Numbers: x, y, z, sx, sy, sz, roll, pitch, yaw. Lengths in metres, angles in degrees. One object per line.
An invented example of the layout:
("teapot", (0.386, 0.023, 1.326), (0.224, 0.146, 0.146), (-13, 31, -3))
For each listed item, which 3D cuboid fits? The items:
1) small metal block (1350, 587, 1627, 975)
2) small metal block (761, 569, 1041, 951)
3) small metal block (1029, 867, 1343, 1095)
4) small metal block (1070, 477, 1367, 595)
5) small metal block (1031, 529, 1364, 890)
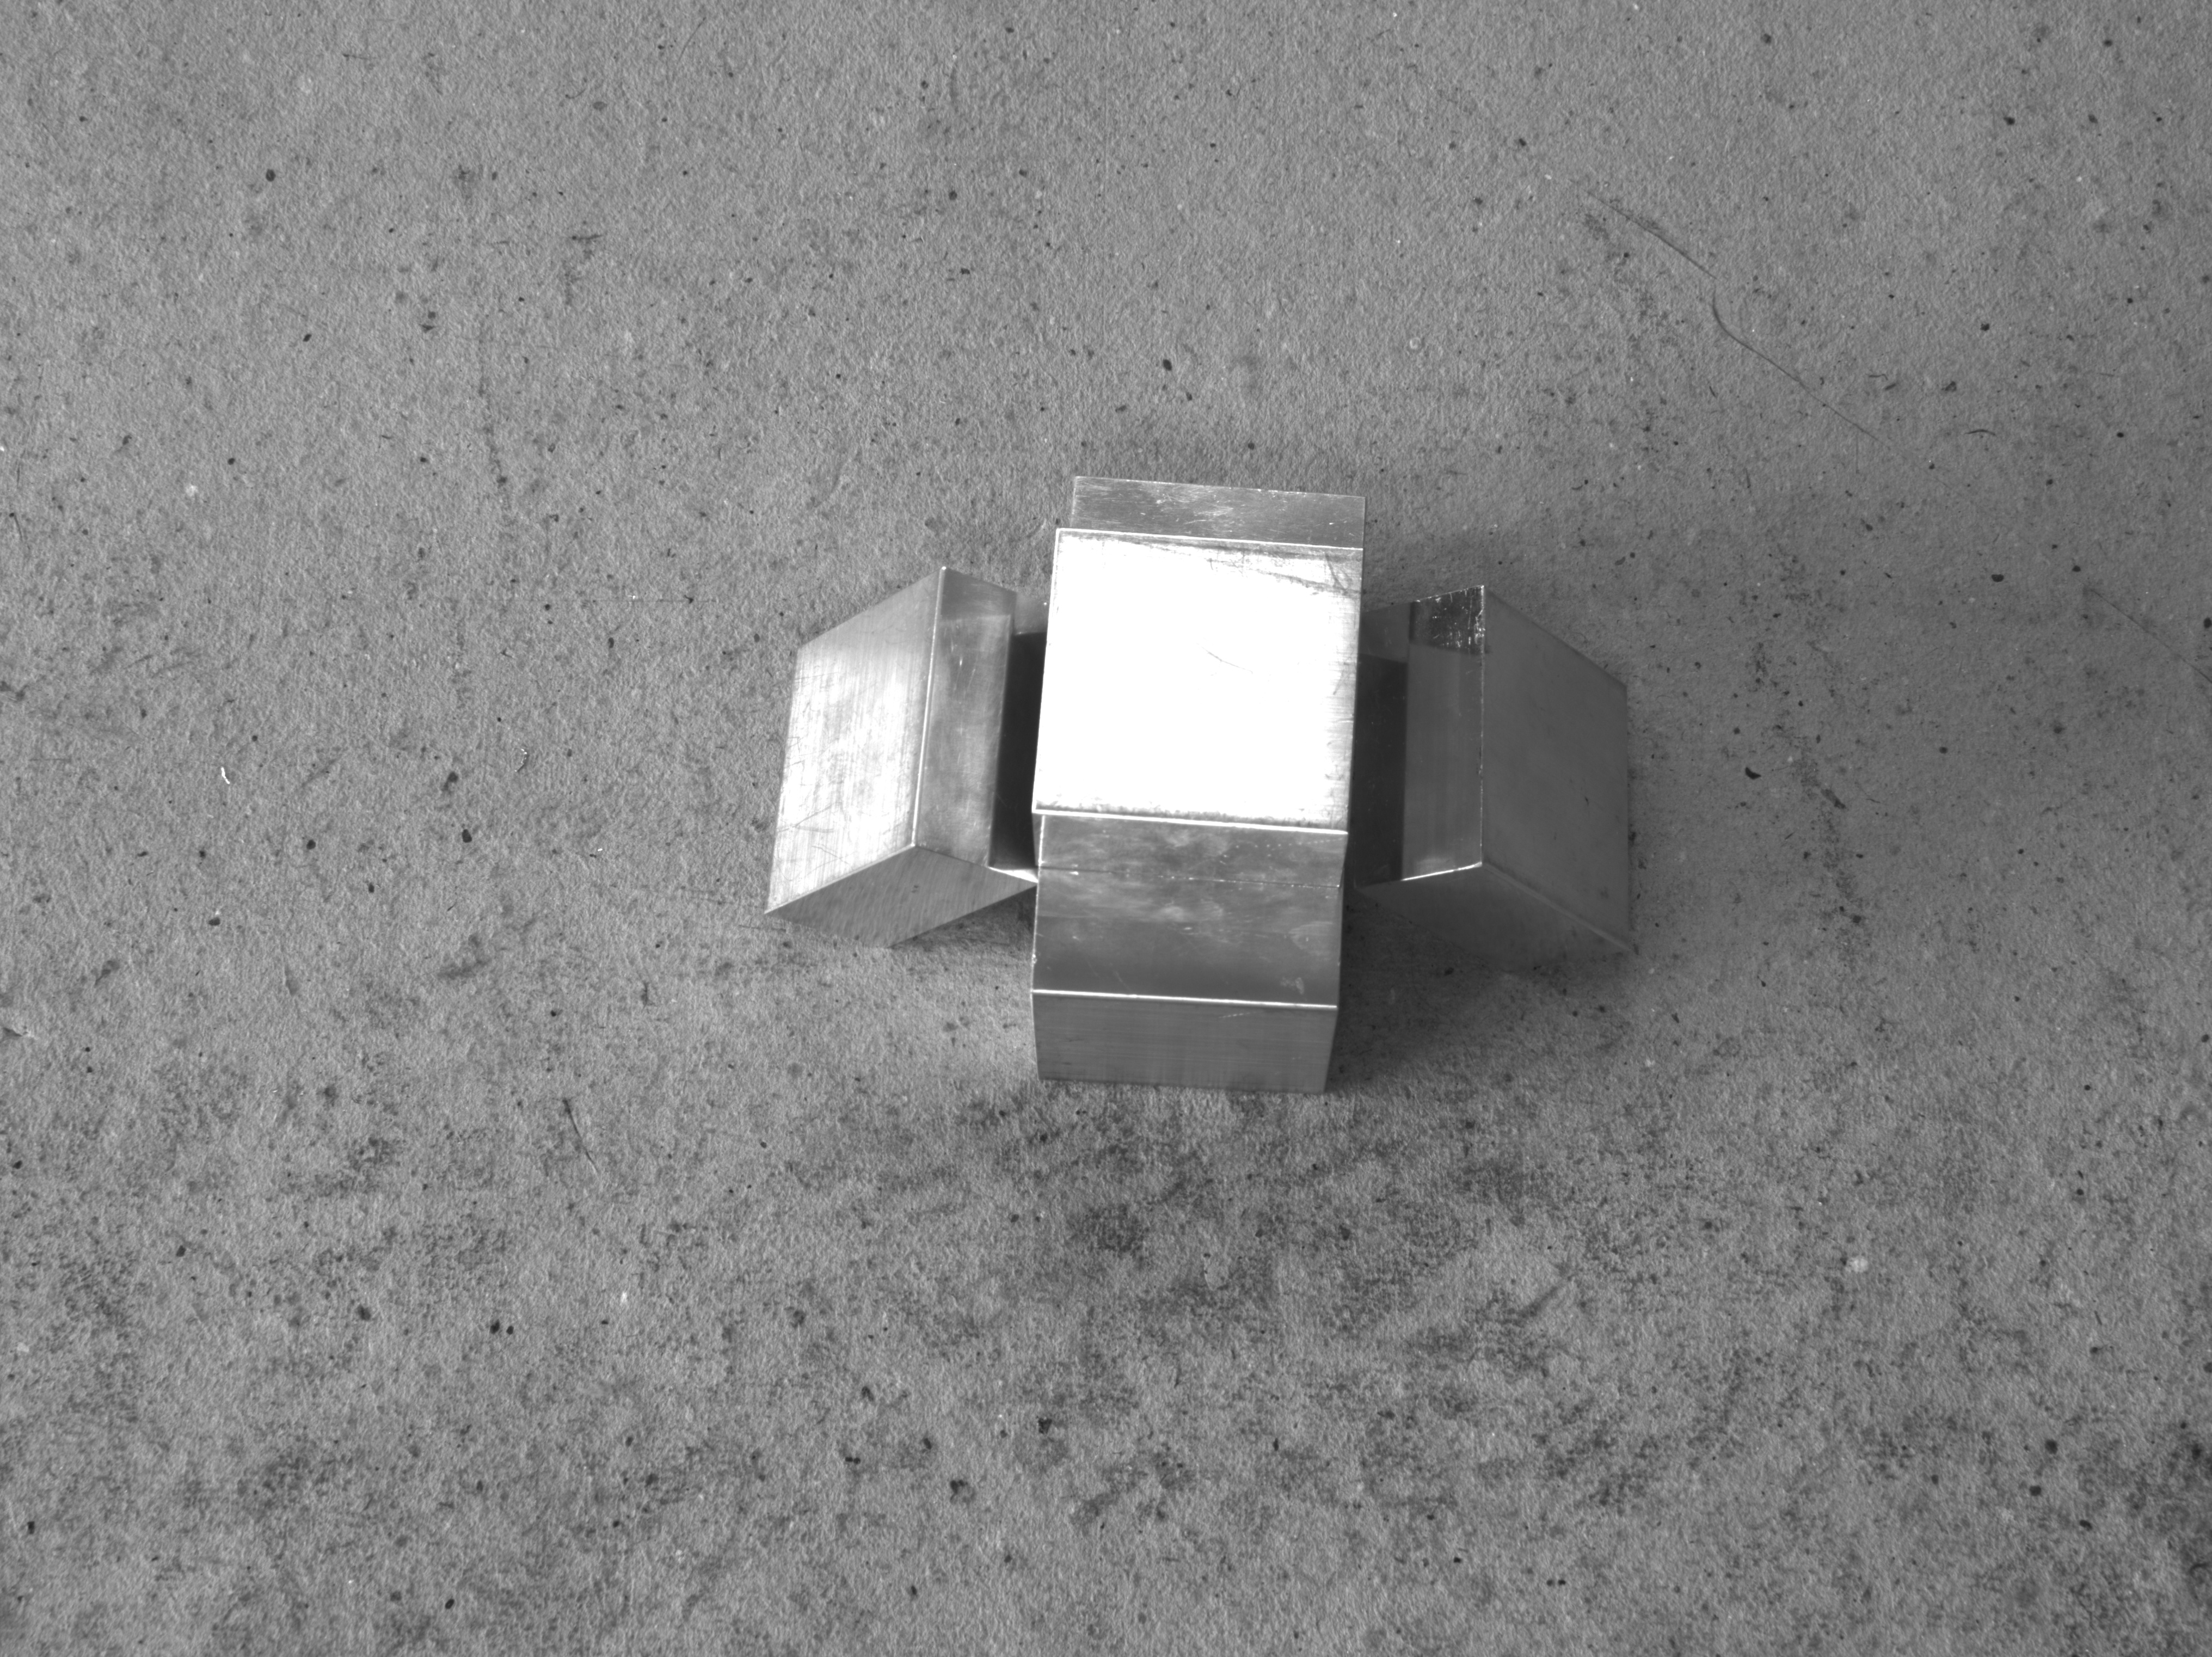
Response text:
("small metal block", (0.066, -0.007, 0.633), (0.025, 0.050, 0.050), (-12, 66, 34))
("small metal block", (-0.033, -0.011, 0.634), (0.025, 0.050, 0.050), (17, 67, -31))
("small metal block", (0.013, 0.025, 0.624), (0.050, 0.050, 0.025), (3, 70, 1))
("small metal block", (0.019, -0.038, 0.646), (0.050, 0.050, 0.025), (4, 70, 2))
("small metal block", (0.015, -0.019, 0.600), (0.050, 0.025, 0.050), (4, 70, 2))
